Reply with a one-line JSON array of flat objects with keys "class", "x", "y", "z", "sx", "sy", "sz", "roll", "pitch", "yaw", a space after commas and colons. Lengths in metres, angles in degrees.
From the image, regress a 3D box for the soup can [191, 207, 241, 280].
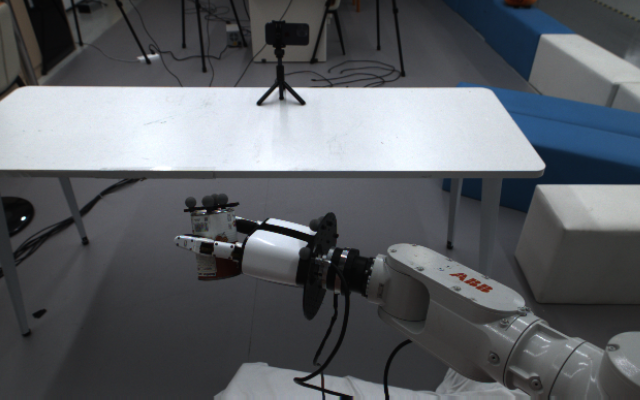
[{"class": "soup can", "x": -0.158, "y": 0.068, "z": 0.738, "sx": 0.067, "sy": 0.101, "sz": 0.067, "roll": -7, "pitch": 3, "yaw": 0}]
